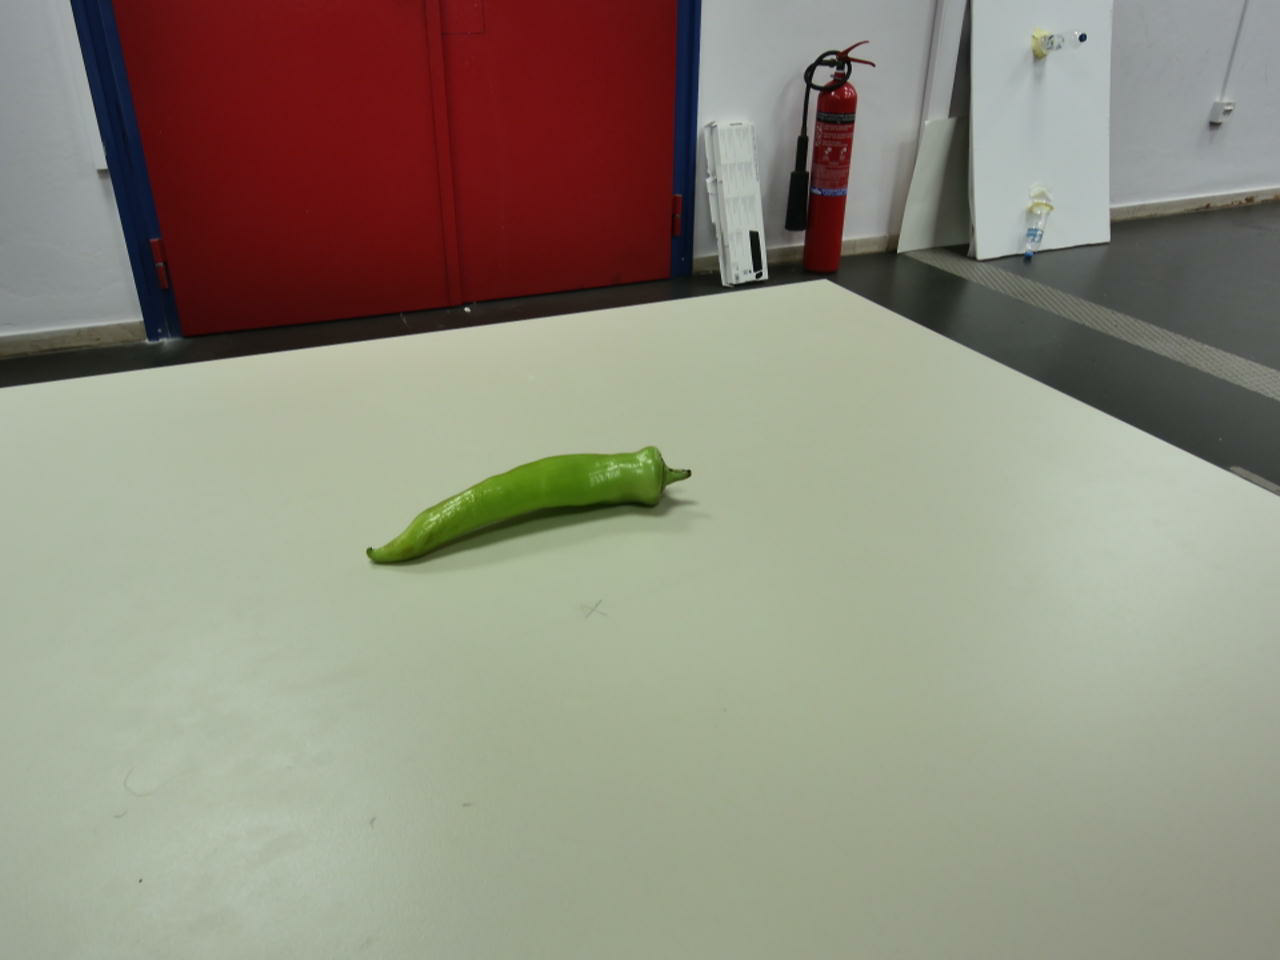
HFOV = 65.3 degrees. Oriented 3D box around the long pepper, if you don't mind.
[{"bbox_3d":[-0.065,0.009,0.589,0.197,0.038,0.047,-10,28,-20],"label":"long pepper"}]
